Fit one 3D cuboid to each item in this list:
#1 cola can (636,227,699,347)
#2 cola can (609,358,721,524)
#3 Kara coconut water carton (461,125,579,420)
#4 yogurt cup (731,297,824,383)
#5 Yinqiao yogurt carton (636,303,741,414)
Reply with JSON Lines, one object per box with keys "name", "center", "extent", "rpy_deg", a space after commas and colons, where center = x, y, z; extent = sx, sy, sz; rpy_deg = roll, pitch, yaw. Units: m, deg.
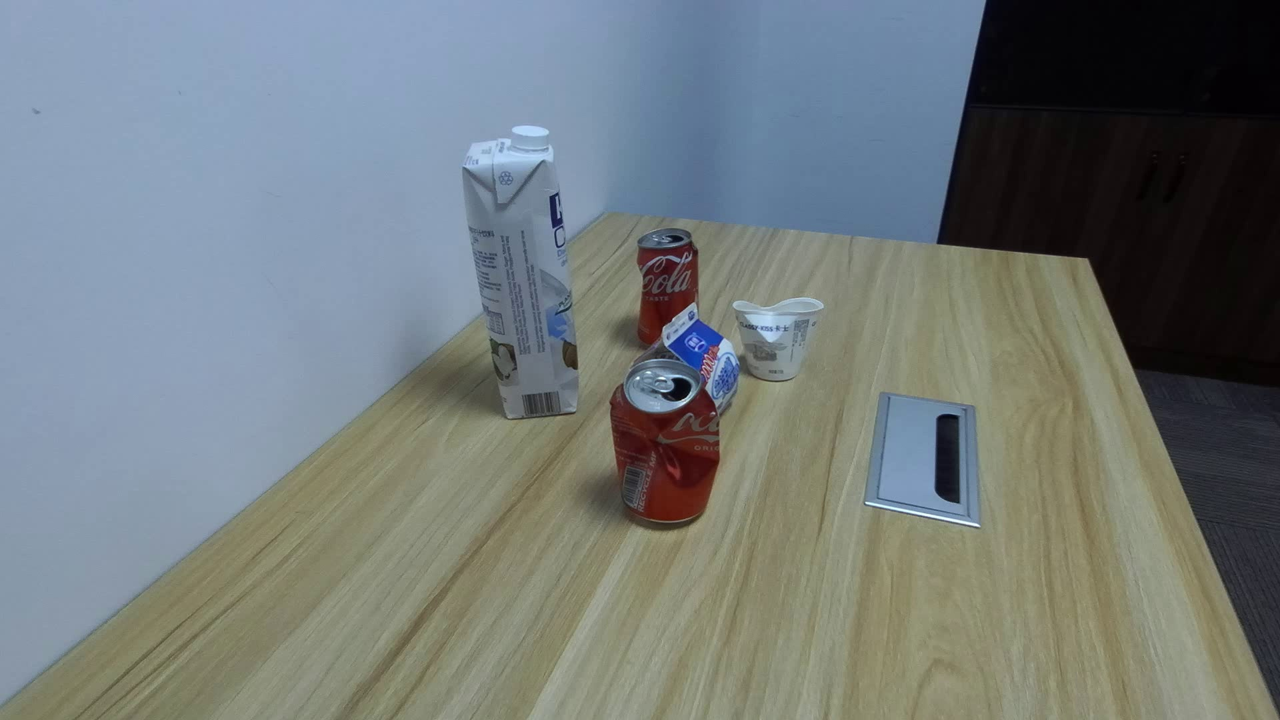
{"name": "cola can", "center": [0.028, -0.071, 0.722], "extent": [0.065, 0.117, 0.072], "rpy_deg": [10, 29, 17]}
{"name": "cola can", "center": [0.017, 0.058, 0.503], "extent": [0.066, 0.112, 0.069], "rpy_deg": [-18, 36, -22]}
{"name": "Kara coconut water carton", "center": [-0.097, -0.069, 0.600], "extent": [0.075, 0.245, 0.077], "rpy_deg": [-5, 31, -3]}
{"name": "yogurt cup", "center": [0.129, -0.023, 0.675], "extent": [0.076, 0.071, 0.053], "rpy_deg": [-15, 32, -23]}
{"name": "Yinqiao yogurt carton", "center": [0.041, 0.002, 0.617], "extent": [0.080, 0.097, 0.074], "rpy_deg": [6, 30, 29]}
